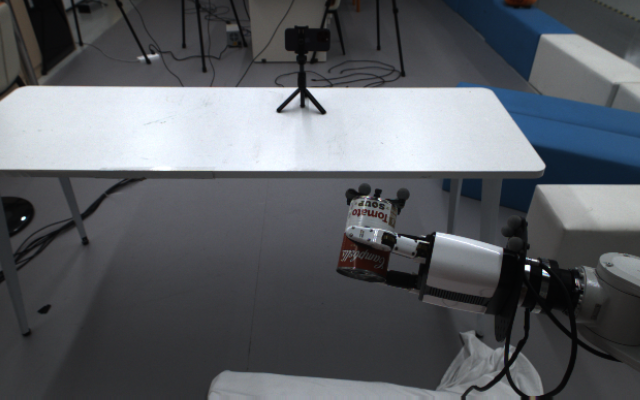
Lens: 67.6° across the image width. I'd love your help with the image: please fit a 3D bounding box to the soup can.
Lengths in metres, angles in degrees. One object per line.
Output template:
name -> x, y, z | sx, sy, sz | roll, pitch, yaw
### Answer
soup can -> 0.066, 0.052, 0.653 | 0.067, 0.067, 0.101 | 9, 72, 10
